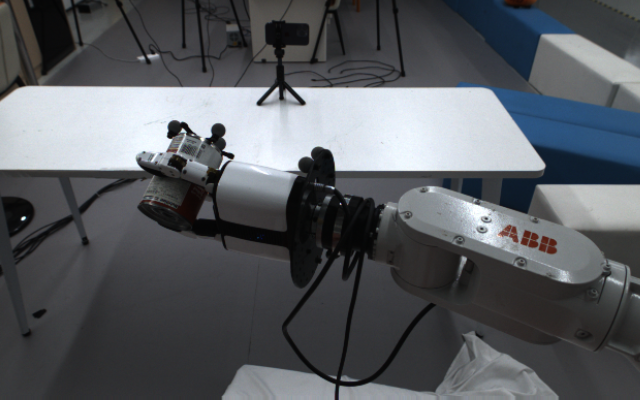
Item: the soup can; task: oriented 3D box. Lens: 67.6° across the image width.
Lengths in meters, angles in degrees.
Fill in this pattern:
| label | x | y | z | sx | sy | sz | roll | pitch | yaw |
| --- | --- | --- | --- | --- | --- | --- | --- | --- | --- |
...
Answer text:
| label | x | y | z | sx | sy | sz | roll | pitch | yaw |
| --- | --- | --- | --- | --- | --- | --- | --- | --- | --- |
| soup can | -0.168 | -0.021 | 0.592 | 0.067 | 0.067 | 0.101 | 12 | 66 | 15 |
